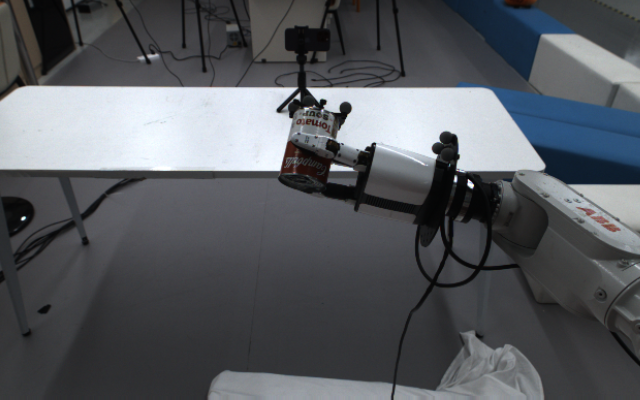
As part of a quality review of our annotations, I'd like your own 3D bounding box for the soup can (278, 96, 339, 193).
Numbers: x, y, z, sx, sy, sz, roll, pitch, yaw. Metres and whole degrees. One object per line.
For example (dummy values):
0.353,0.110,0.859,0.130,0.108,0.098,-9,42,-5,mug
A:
-0.014,-0.070,0.672,0.067,0.067,0.101,9,74,9,soup can
